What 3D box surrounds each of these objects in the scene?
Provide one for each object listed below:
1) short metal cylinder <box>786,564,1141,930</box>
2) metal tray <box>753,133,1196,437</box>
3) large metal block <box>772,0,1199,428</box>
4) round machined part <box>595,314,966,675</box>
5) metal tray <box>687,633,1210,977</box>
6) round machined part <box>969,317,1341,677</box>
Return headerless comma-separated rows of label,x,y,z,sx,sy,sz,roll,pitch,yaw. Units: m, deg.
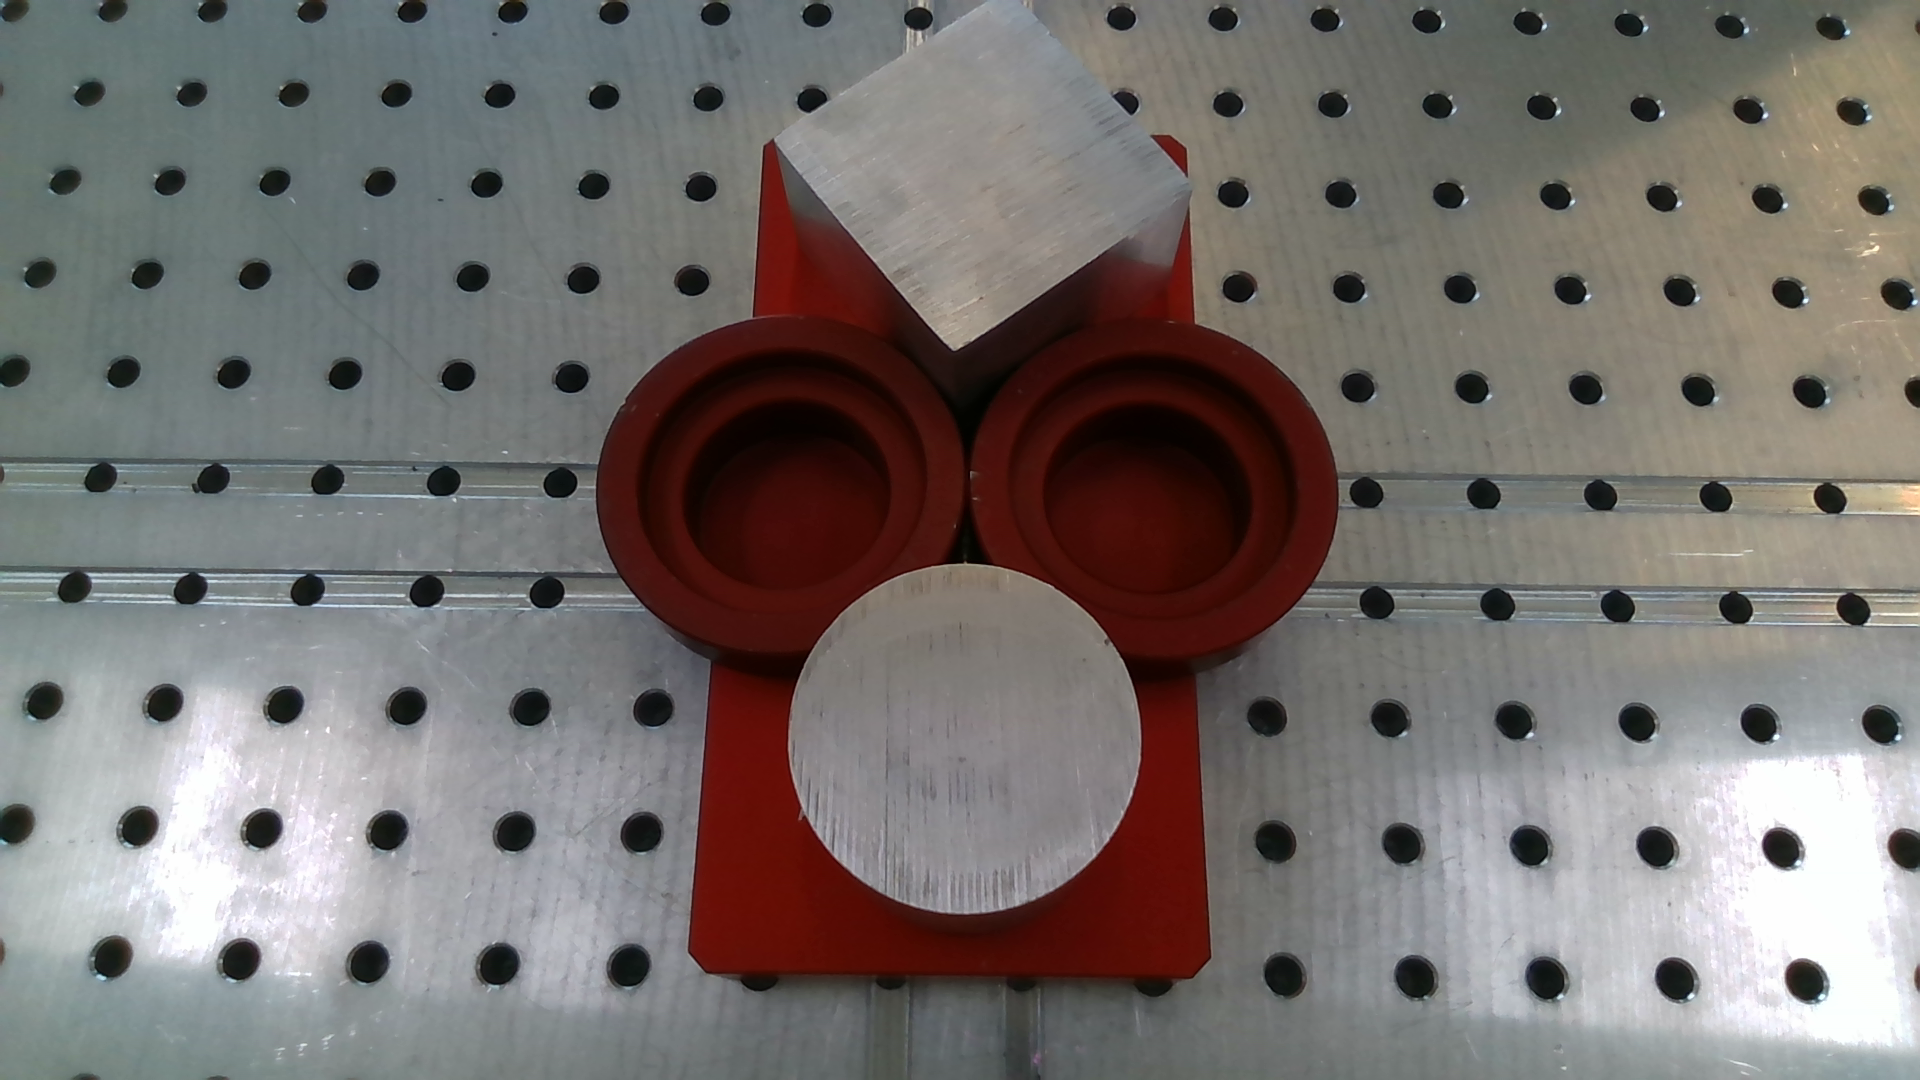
short metal cylinder,0.001,0.052,0.334,0.080,0.050,0.080,0,70,0
metal tray,0.004,-0.079,0.423,0.130,0.030,0.090,0,72,0
large metal block,0.006,-0.090,0.385,0.080,0.050,0.080,-35,74,-12
round machined part,-0.048,-0.010,0.383,0.098,0.042,0.098,0,70,0
metal tray,-0.003,0.070,0.369,0.130,0.030,0.090,1,70,0
round machined part,0.051,-0.009,0.382,0.098,0.042,0.098,0,70,0
